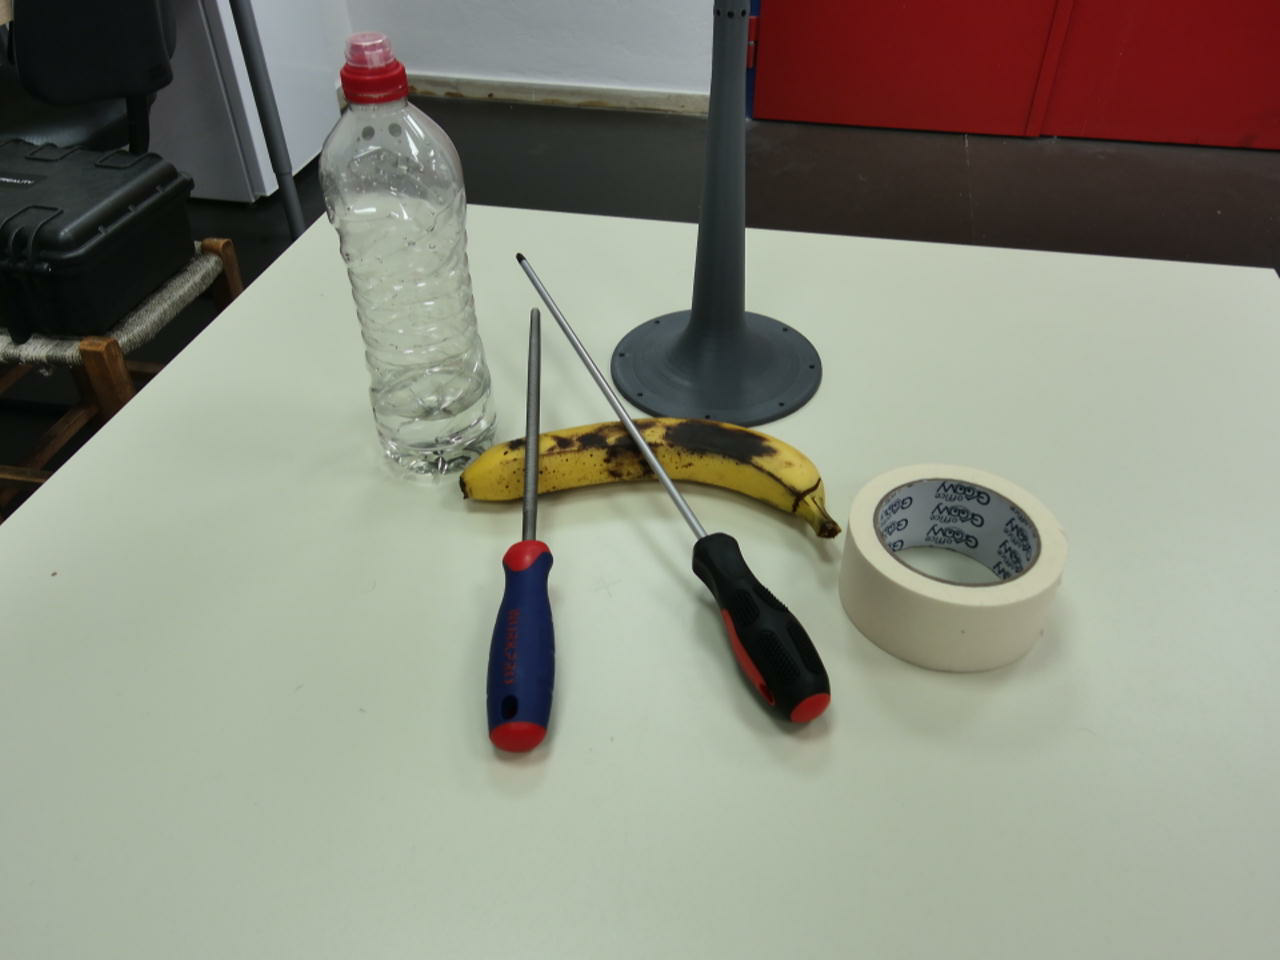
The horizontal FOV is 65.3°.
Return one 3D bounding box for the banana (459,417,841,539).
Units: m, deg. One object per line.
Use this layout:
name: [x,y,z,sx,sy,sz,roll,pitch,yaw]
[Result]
banana: [0.009,-0.008,0.595,0.222,0.037,0.084,8,40,10]
